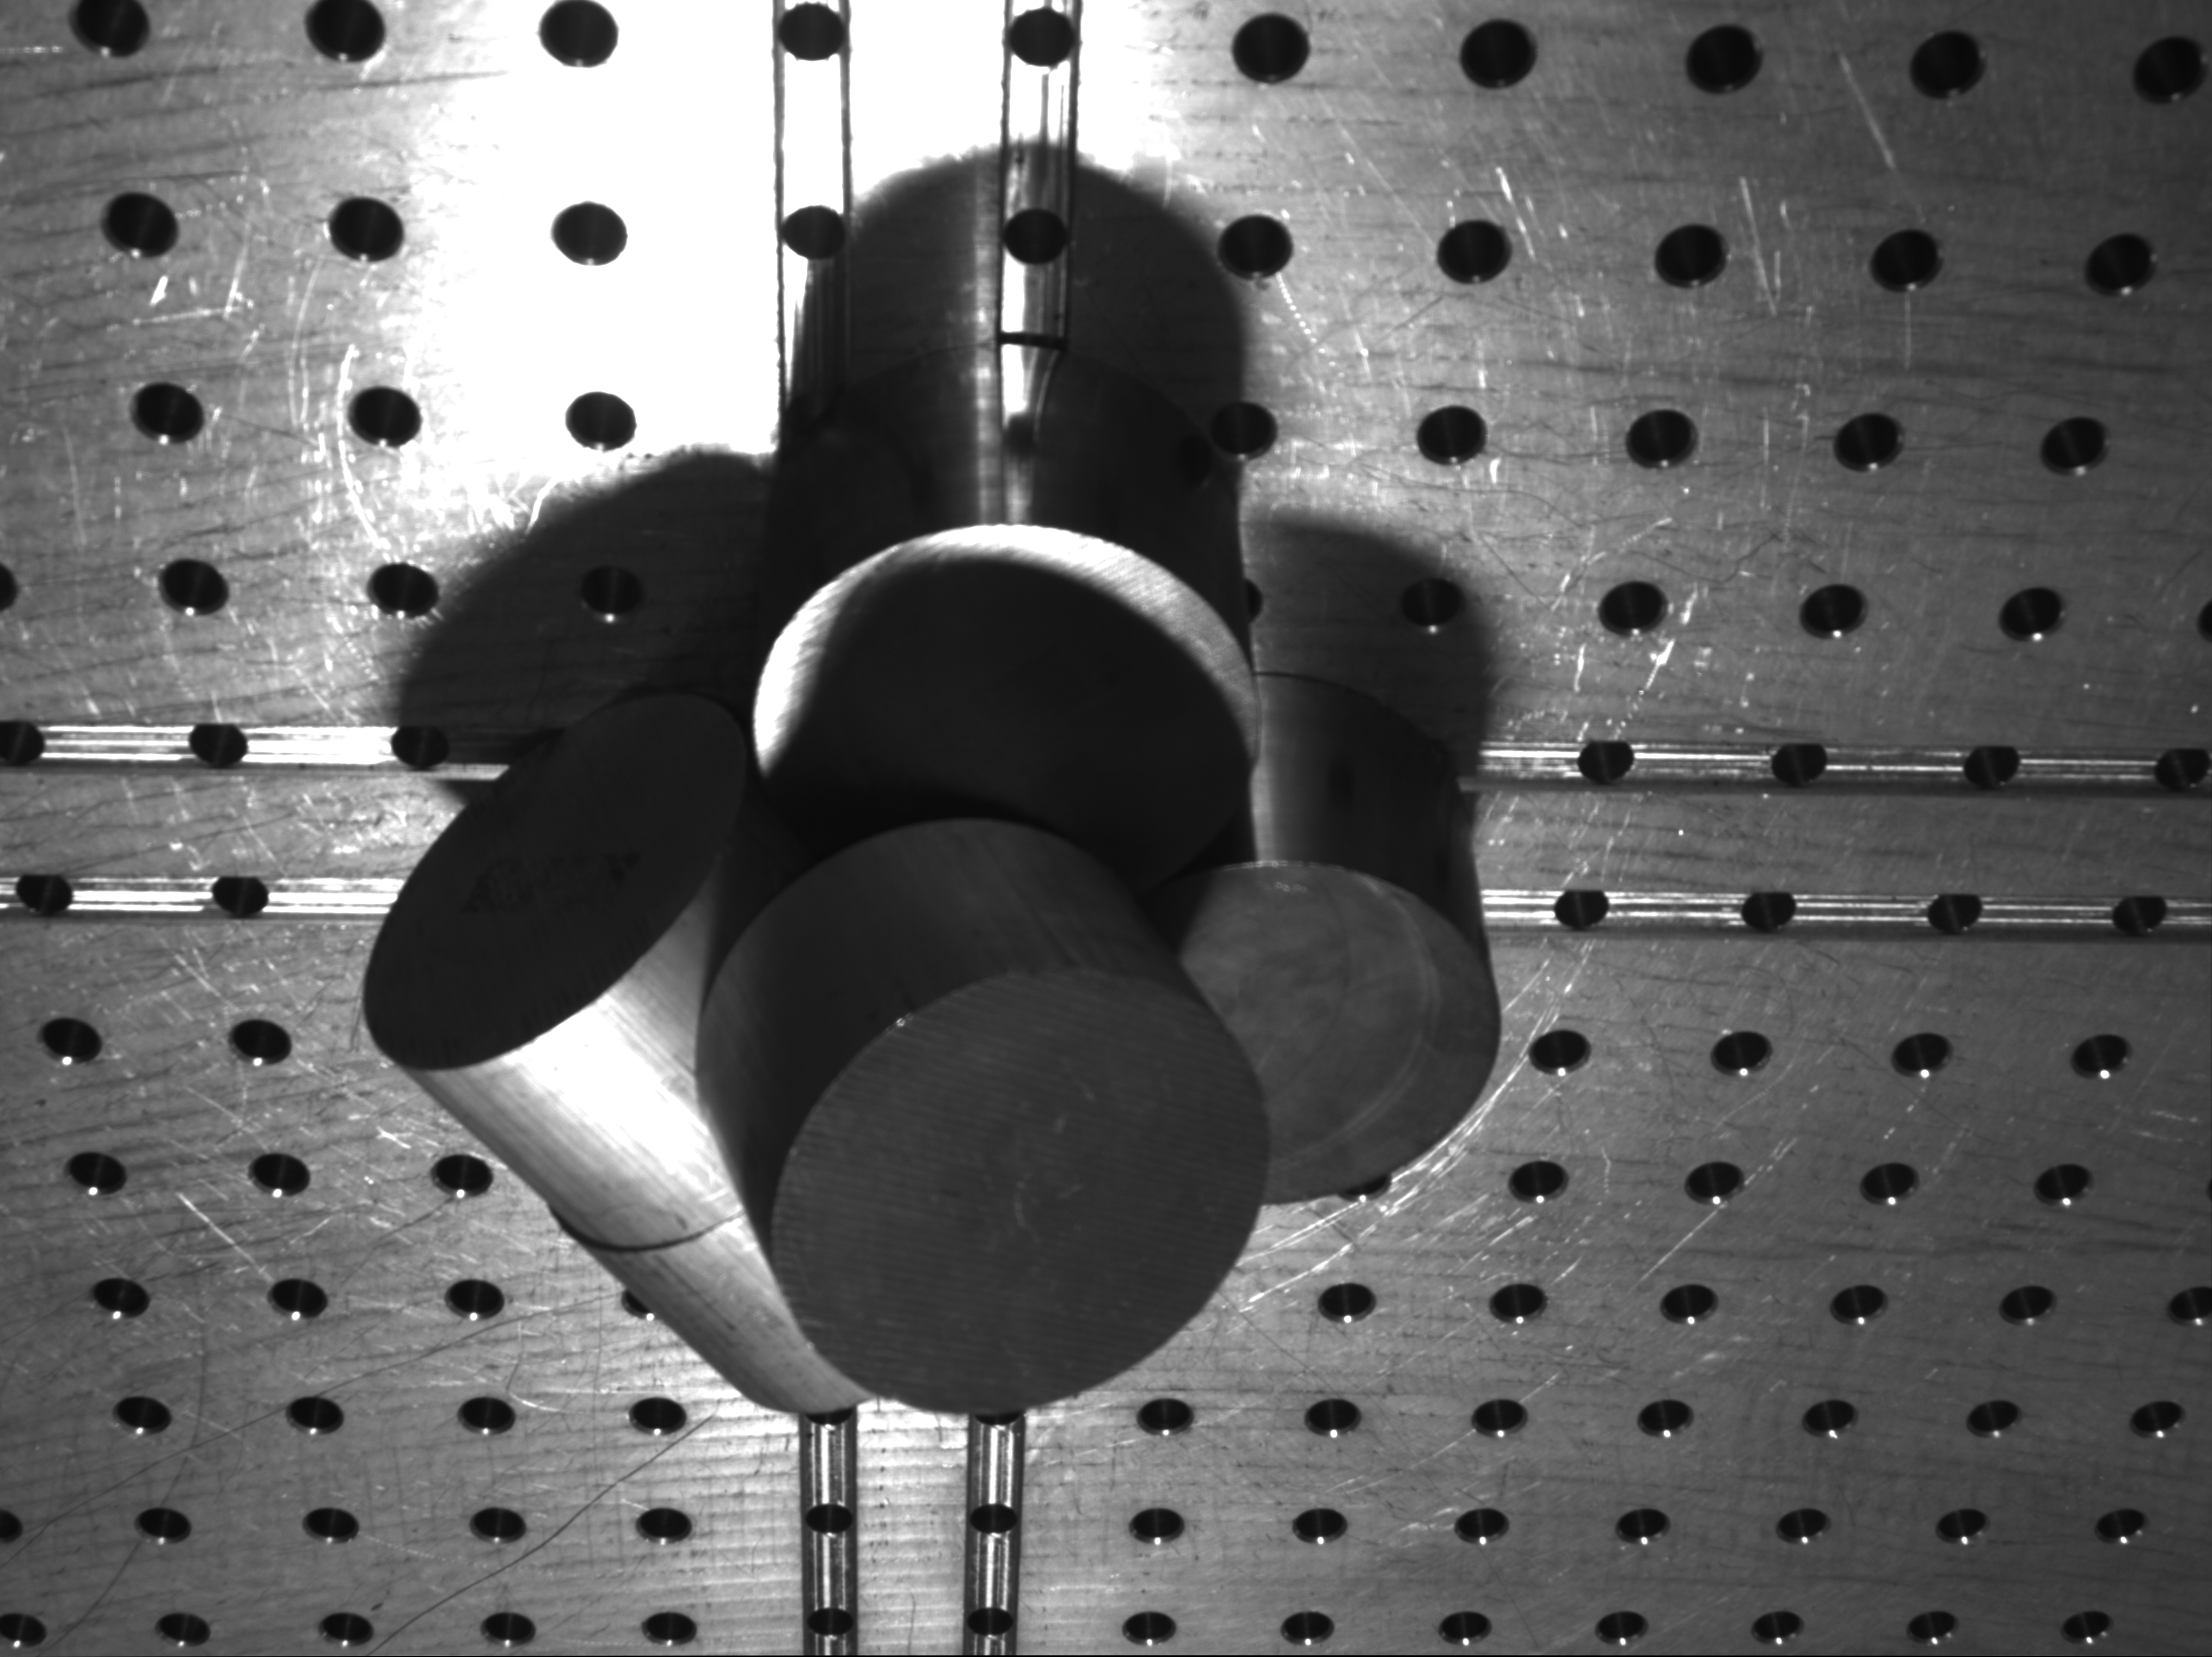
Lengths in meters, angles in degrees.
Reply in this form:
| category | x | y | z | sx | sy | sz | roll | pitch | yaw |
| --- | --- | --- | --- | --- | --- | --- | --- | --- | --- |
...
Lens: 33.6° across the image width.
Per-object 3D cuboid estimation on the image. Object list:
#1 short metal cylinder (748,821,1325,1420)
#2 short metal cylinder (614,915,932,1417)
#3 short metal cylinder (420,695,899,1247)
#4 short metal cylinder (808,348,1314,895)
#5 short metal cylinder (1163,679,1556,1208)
| category | x | y | z | sx | sy | sz | roll | pitch | yaw |
| --- | --- | --- | --- | --- | --- | --- | --- | --- | --- |
| short metal cylinder | -0.012 | 0.046 | 0.579 | 0.080 | 0.050 | 0.080 | -9 | 119 | -17 |
| short metal cylinder | -0.043 | 0.057 | 0.652 | 0.080 | 0.080 | 0.050 | -27 | 126 | 19 |
| short metal cylinder | -0.069 | 0.024 | 0.623 | 0.080 | 0.080 | 0.050 | -27 | 126 | 20 |
| short metal cylinder | -0.008 | -0.031 | 0.598 | 0.080 | 0.050 | 0.080 | -1 | 130 | -1 |
| short metal cylinder | 0.036 | 0.021 | 0.642 | 0.080 | 0.050 | 0.080 | -1 | 130 | -1 |
